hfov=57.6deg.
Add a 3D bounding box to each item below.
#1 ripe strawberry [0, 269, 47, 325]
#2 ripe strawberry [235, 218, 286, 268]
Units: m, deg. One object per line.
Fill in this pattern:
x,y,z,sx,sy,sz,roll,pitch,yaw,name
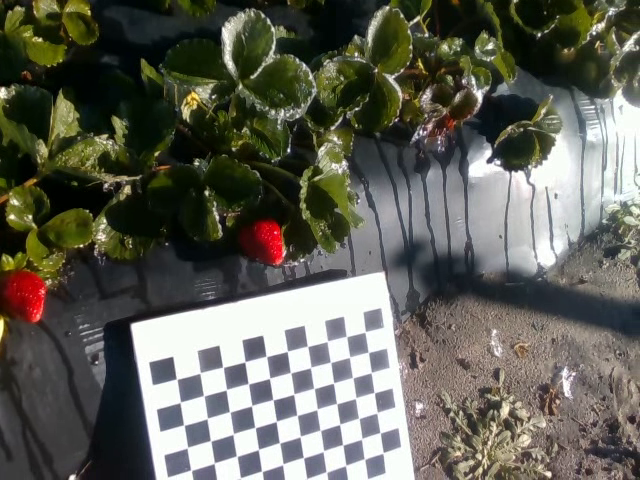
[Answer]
-0.264,0.058,0.524,0.042,0.061,0.046,-26,-32,-20,ripe strawberry
-0.057,0.005,0.603,0.048,0.061,0.044,-18,-25,-22,ripe strawberry
